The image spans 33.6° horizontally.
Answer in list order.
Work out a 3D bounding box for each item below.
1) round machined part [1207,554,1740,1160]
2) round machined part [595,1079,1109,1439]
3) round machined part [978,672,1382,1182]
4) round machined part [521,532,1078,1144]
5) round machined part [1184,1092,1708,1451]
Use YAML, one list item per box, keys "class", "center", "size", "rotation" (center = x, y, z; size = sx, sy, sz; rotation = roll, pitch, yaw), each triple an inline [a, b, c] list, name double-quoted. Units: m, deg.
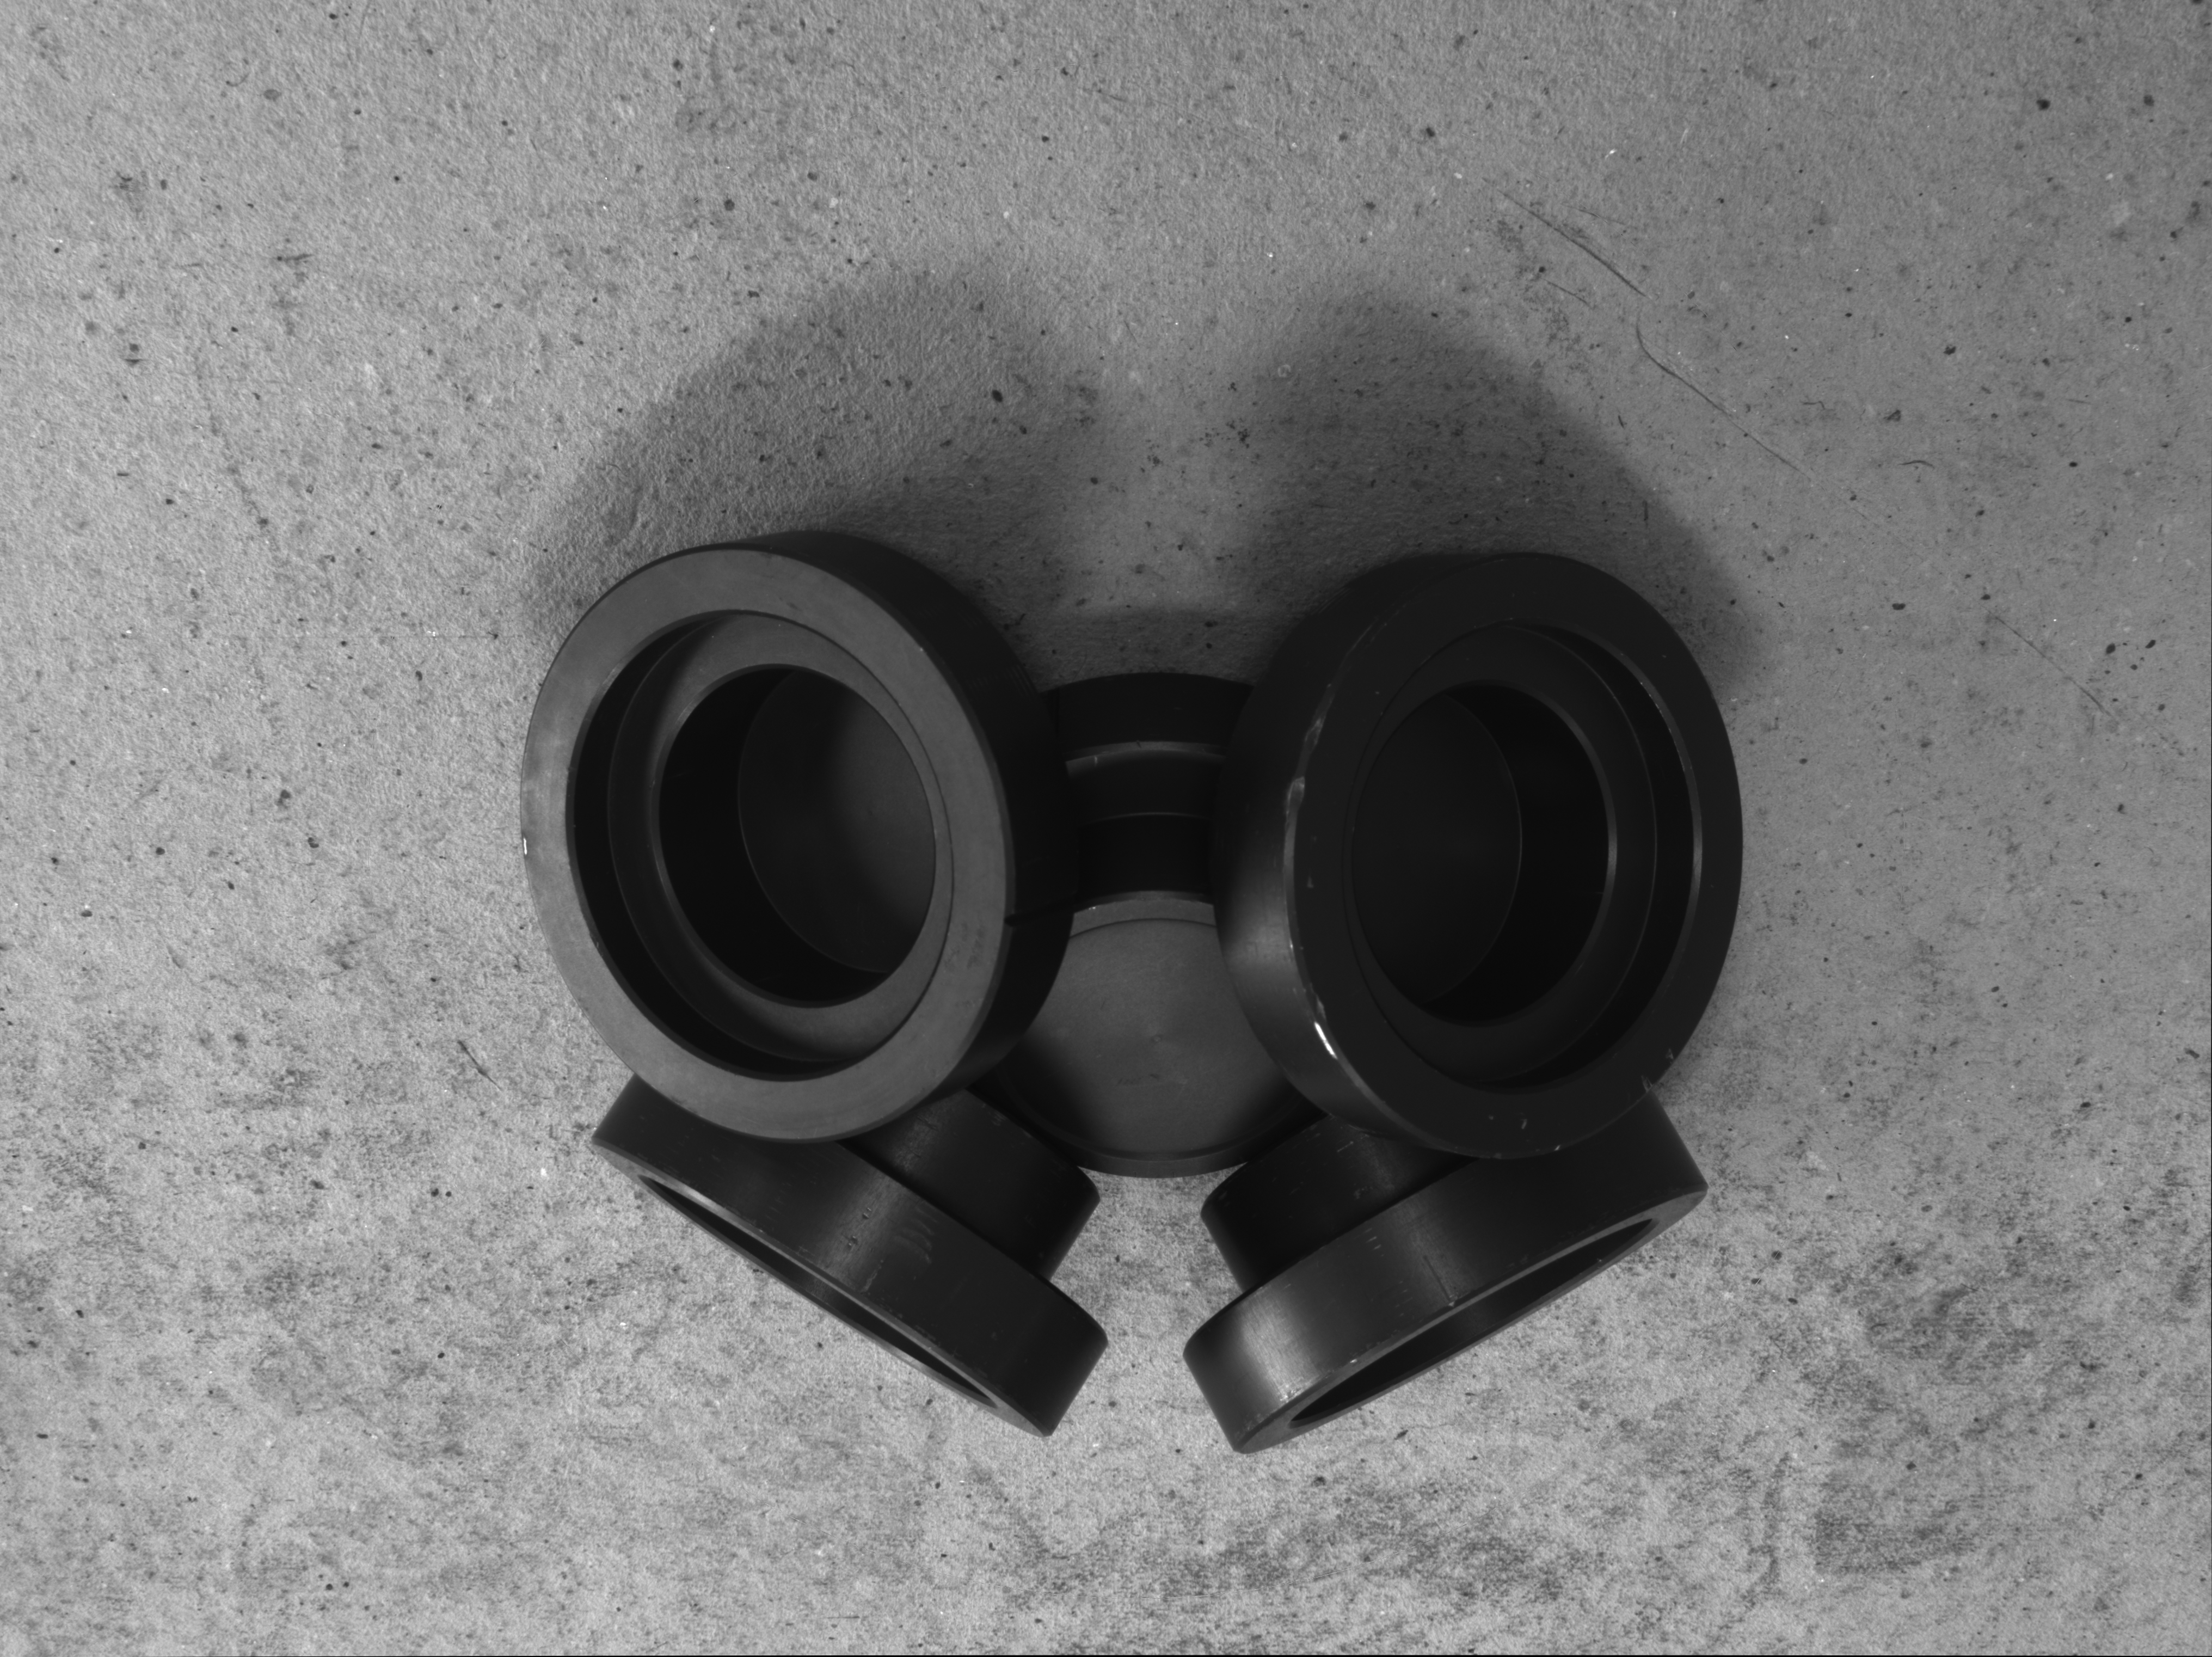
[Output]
- class: "round machined part"
  center: [0.056, 0.004, 0.609]
  size: [0.098, 0.098, 0.042]
  rotation: [42, 159, -29]
- class: "round machined part"
  center: [-0.040, 0.066, 0.661]
  size: [0.098, 0.098, 0.042]
  rotation: [39, 77, -28]
- class: "round machined part"
  center: [0.009, 0.024, 0.648]
  size: [0.098, 0.042, 0.098]
  rotation: [-1, 128, -1]
- class: "round machined part"
  center: [-0.046, 0.000, 0.607]
  size: [0.098, 0.042, 0.098]
  rotation: [6, 103, 30]
- class: "round machined part"
  center: [0.057, 0.072, 0.667]
  size: [0.098, 0.042, 0.098]
  rotation: [-27, 166, -7]
